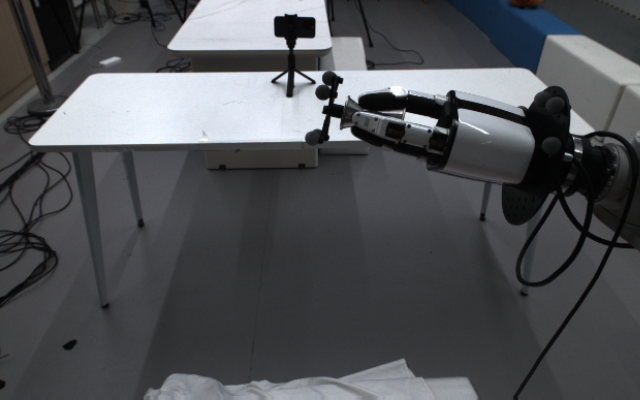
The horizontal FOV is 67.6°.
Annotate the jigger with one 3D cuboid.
[{"bbox_3d":[0.067,-0.095,0.559,0.071,0.043,0.043,14,36,4],"label":"jigger"}]
